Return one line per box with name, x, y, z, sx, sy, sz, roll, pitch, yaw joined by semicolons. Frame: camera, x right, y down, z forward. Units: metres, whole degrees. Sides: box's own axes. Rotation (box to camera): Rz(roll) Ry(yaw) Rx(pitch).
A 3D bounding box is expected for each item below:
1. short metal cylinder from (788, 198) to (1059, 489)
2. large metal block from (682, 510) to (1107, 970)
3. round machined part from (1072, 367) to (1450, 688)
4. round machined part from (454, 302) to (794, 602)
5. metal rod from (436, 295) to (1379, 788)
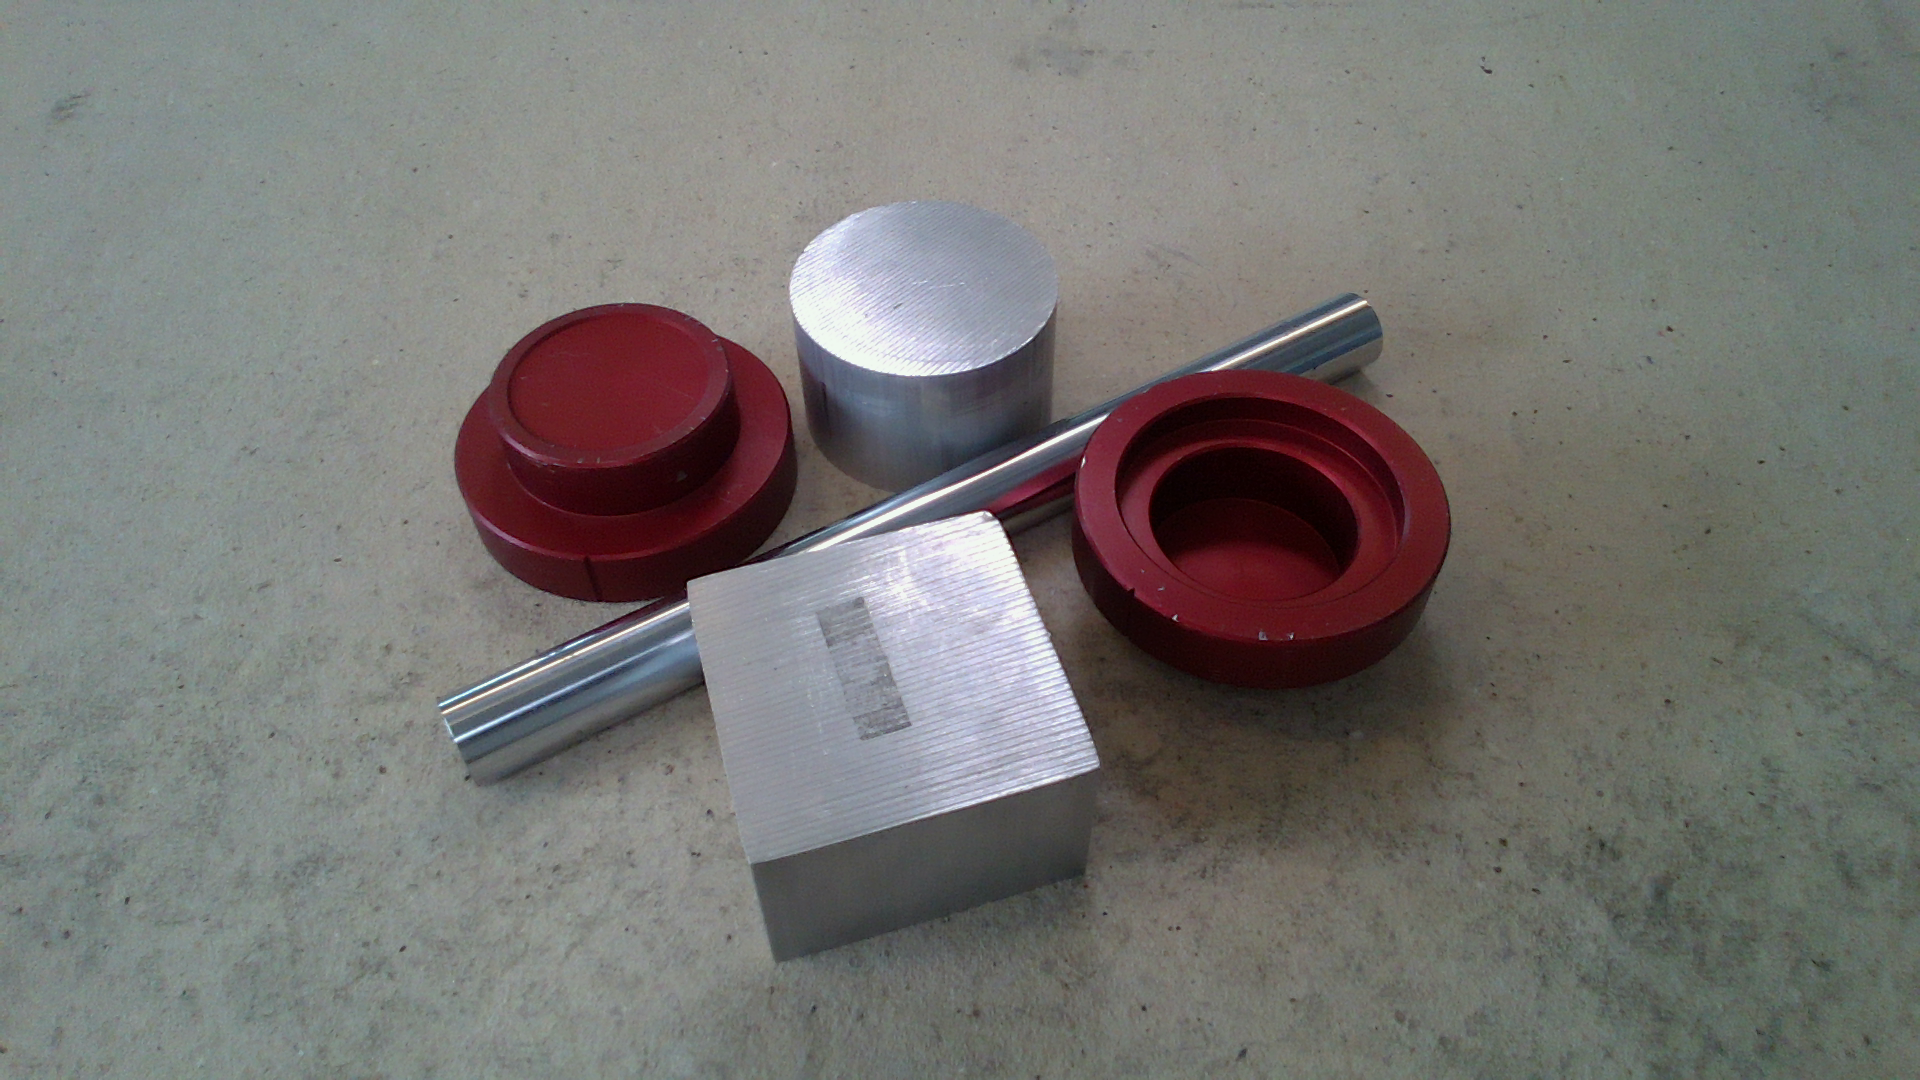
short metal cylinder;-0.011;-0.061;0.426;0.080;0.050;0.080;0;50;0
large metal block;-0.018;0.047;0.337;0.080;0.050;0.080;-13;51;-11
round machined part;0.080;0.001;0.380;0.098;0.042;0.098;0;50;0
round machined part;-0.100;-0.033;0.408;0.098;0.042;0.098;0;50;0
metal rod;0.001;-0.008;0.400;0.301;0.025;0.025;-25;54;-20
